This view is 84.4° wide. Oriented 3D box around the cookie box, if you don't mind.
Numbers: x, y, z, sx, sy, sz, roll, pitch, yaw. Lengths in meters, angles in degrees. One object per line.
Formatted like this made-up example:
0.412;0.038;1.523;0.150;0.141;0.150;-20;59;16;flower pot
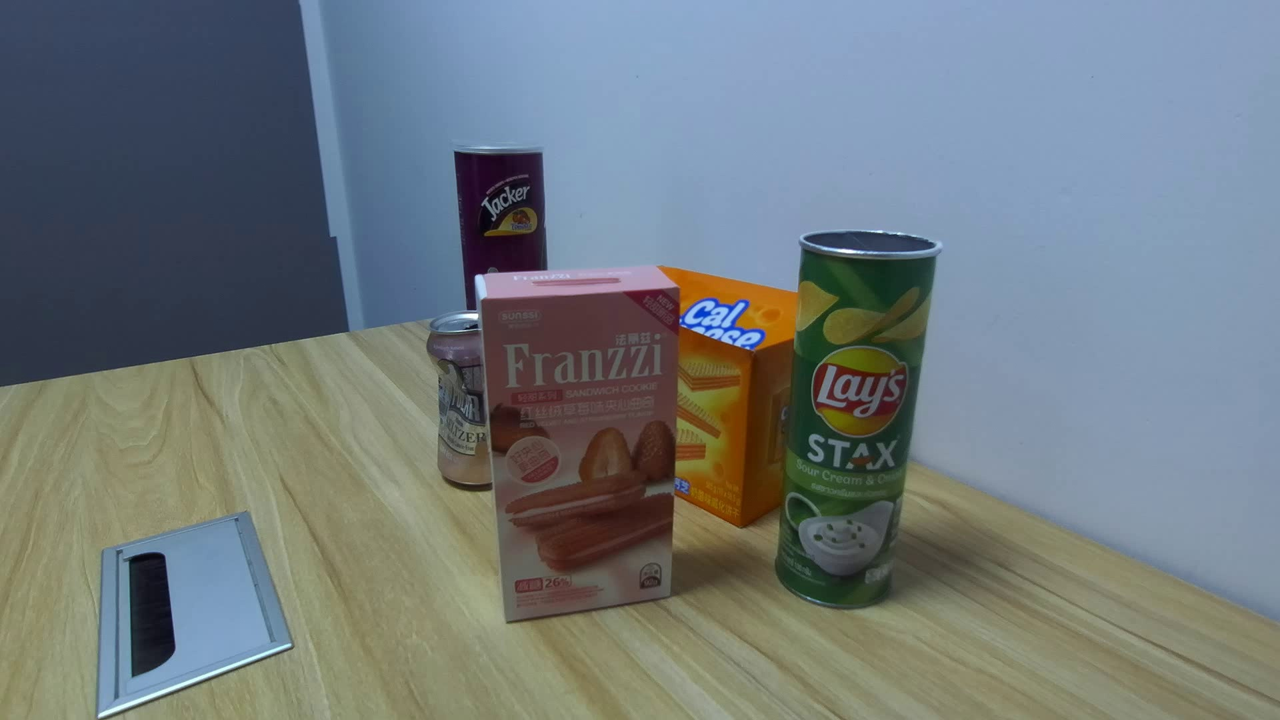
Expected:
-0.032;0.047;0.380;0.096;0.184;0.048;-4;22;-13;cookie box

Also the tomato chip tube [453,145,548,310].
-0.122;-0.073;0.649;0.078;0.234;0.078;0;17;0;tomato chip tube

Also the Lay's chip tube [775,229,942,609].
0.117;0.033;0.390;0.071;0.202;0.071;0;20;0;Lay's chip tube
